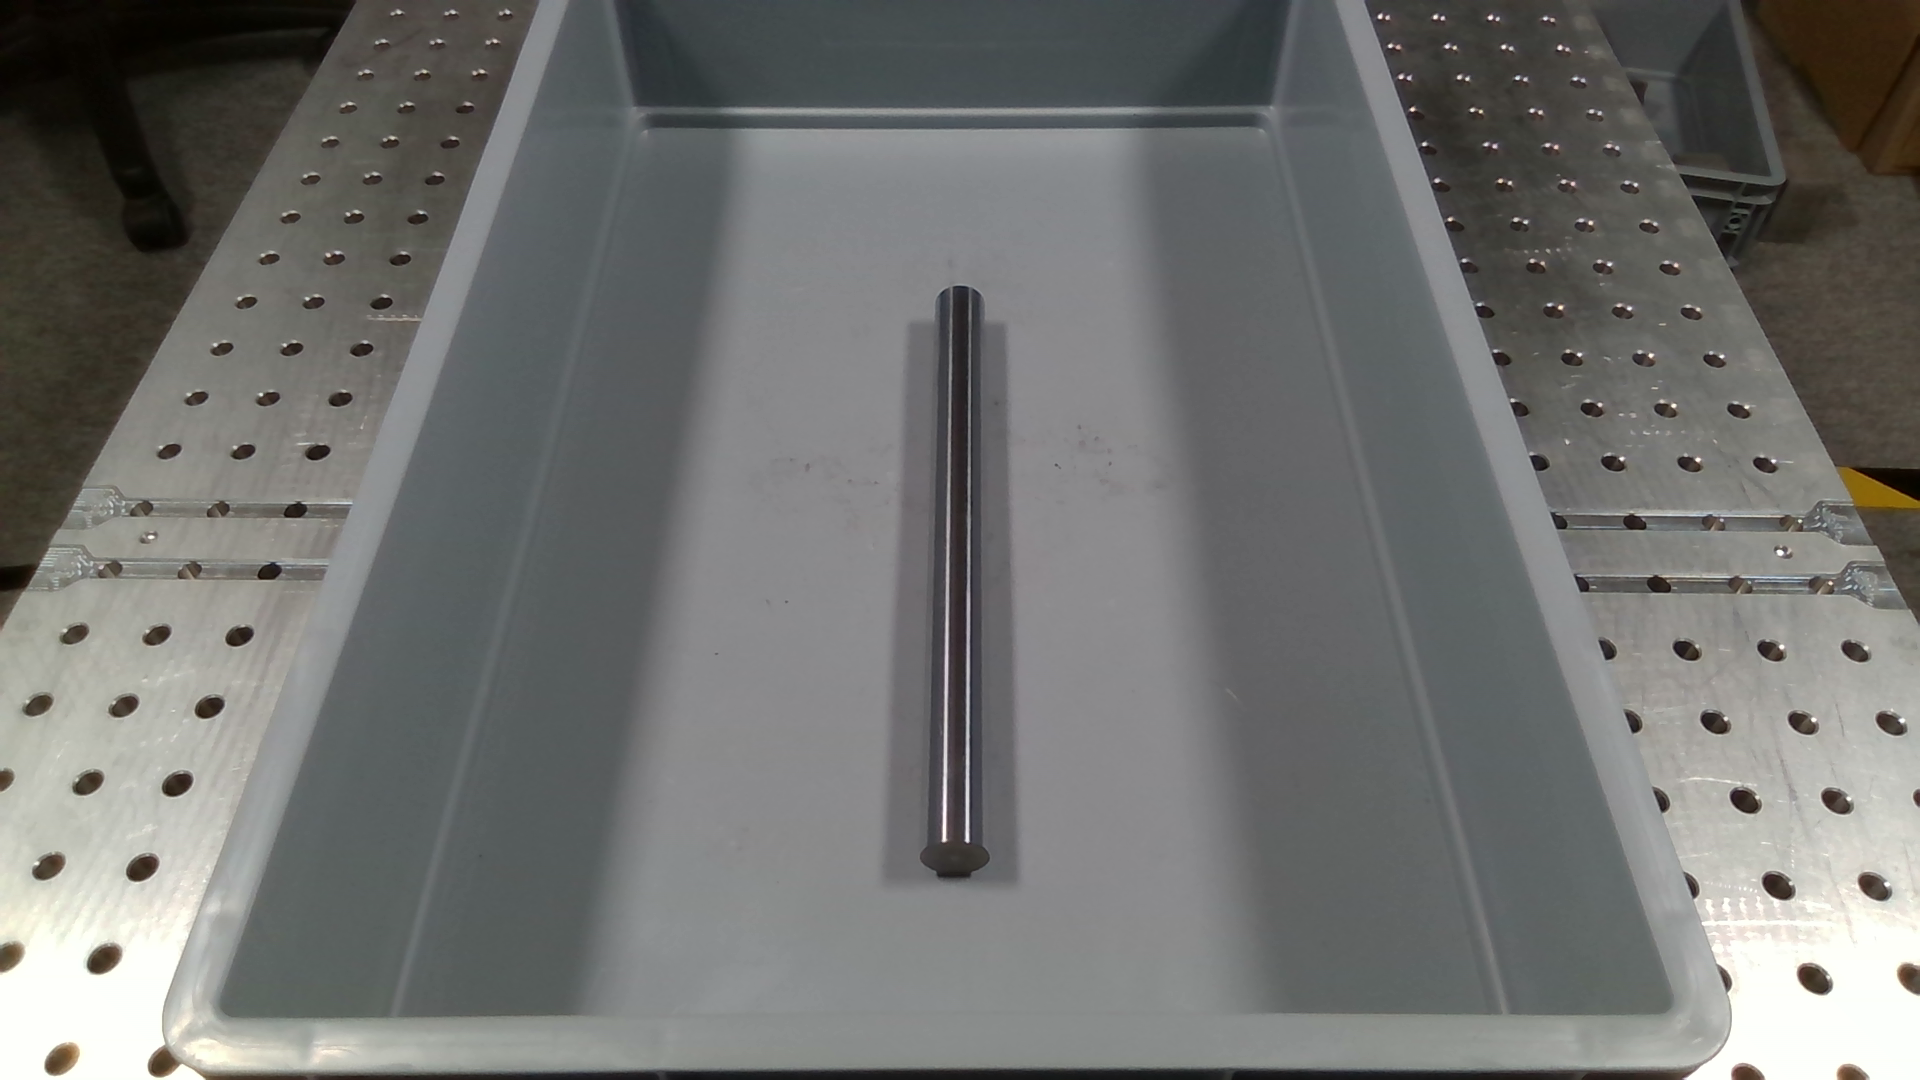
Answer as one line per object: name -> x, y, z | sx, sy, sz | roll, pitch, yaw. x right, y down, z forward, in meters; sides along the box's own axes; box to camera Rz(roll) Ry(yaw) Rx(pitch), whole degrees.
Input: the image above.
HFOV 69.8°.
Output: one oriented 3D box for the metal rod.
metal rod -> -0.001, -0.002, 0.586 | 0.025, 0.025, 0.299 | 0, 50, 0
